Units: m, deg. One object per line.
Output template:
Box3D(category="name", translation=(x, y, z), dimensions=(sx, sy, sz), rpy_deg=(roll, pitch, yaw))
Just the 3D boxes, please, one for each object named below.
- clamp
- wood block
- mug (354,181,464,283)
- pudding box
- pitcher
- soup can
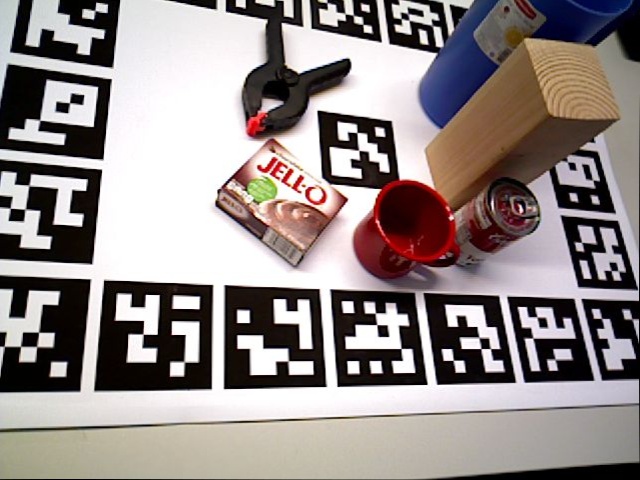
Box3D(category="clamp", translation=(-0.044, -0.185, 0.639), dimensions=(0.121, 0.037, 0.162), rpy_deg=(33, 61, -12))
Box3D(category="wood block", translation=(0.211, -0.119, 0.590), dimensions=(0.088, 0.211, 0.090), rpy_deg=(1, 66, -23))
Box3D(category="mug", translation=(0.096, 0.002, 0.573), dimensions=(0.117, 0.083, 0.091), rpy_deg=(35, 58, -1))
Box3D(category="pudding box", translation=(-0.048, -0.040, 0.569), dimensions=(0.114, 0.039, 0.088), rpy_deg=(37, 64, 0))
Box3D(category="pitcher", translation=(0.229, -0.235, 0.629), dimensions=(0.186, 0.248, 0.132), rpy_deg=(1, 64, -16))
Box3D(category="soup can", translation=(0.185, -0.016, 0.598), dimensions=(0.067, 0.104, 0.067), rpy_deg=(6, 67, -17))
